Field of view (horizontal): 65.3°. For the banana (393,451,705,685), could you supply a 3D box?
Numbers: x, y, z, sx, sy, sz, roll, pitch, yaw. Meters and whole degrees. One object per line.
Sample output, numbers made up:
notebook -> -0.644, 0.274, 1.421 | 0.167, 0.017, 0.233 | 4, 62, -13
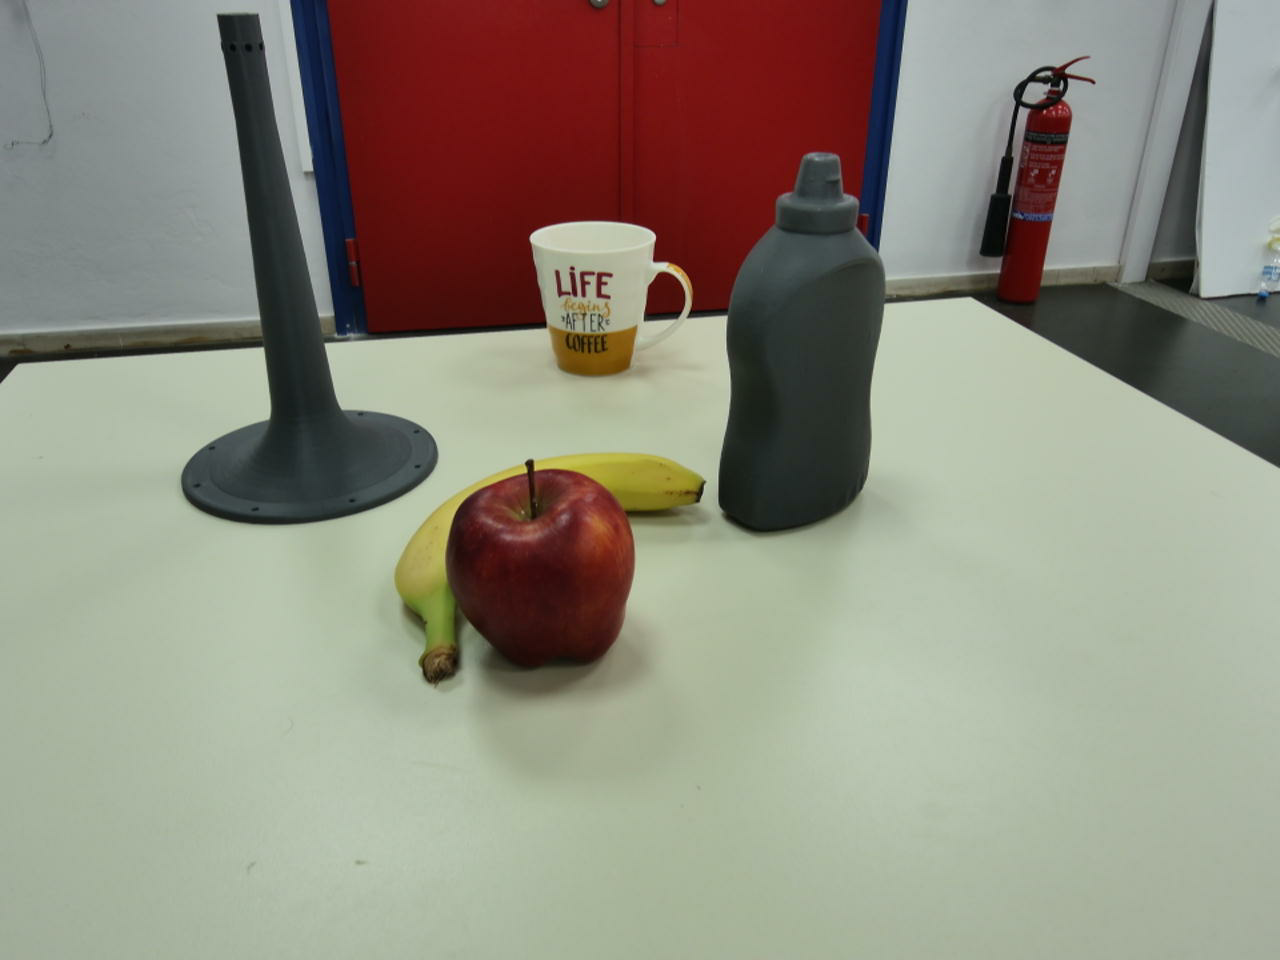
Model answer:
banana -> -0.058, 0.026, 0.515 | 0.094, 0.041, 0.196 | 21, 32, 36
